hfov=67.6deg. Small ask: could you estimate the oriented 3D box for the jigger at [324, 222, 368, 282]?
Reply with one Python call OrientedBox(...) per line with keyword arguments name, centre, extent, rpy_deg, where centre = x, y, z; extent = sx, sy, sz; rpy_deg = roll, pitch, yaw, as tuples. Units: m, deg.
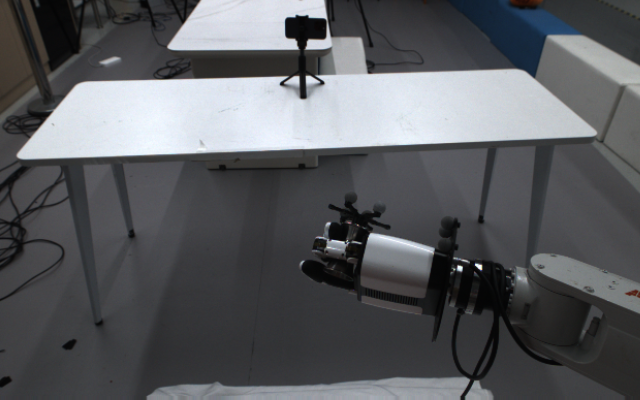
OrientedBox(name="jigger", centre=(0.036, 0.066, 0.641), extent=(0.043, 0.043, 0.071), rpy_deg=(16, 70, 19))
